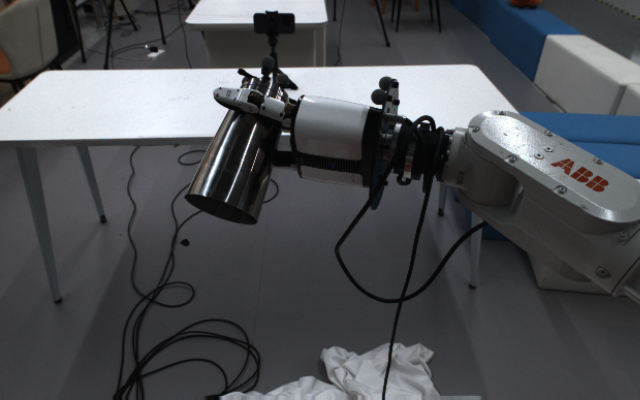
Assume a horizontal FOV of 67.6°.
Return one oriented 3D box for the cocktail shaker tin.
[{"bbox_3d":[-0.094,-0.066,0.612,0.093,0.093,0.170,13,72,15],"label":"cocktail shaker tin"}]
